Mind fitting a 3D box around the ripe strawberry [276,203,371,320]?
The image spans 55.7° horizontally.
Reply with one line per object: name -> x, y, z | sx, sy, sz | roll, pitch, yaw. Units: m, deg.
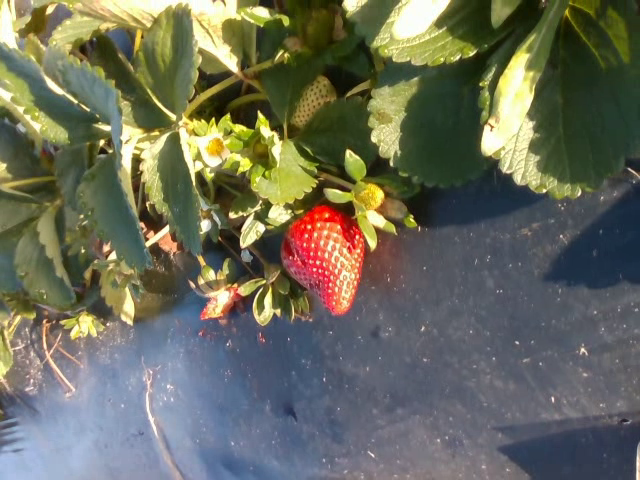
ripe strawberry -> 0.002, 0.016, 0.288 | 0.041, 0.051, 0.052 | 2, -33, -25
